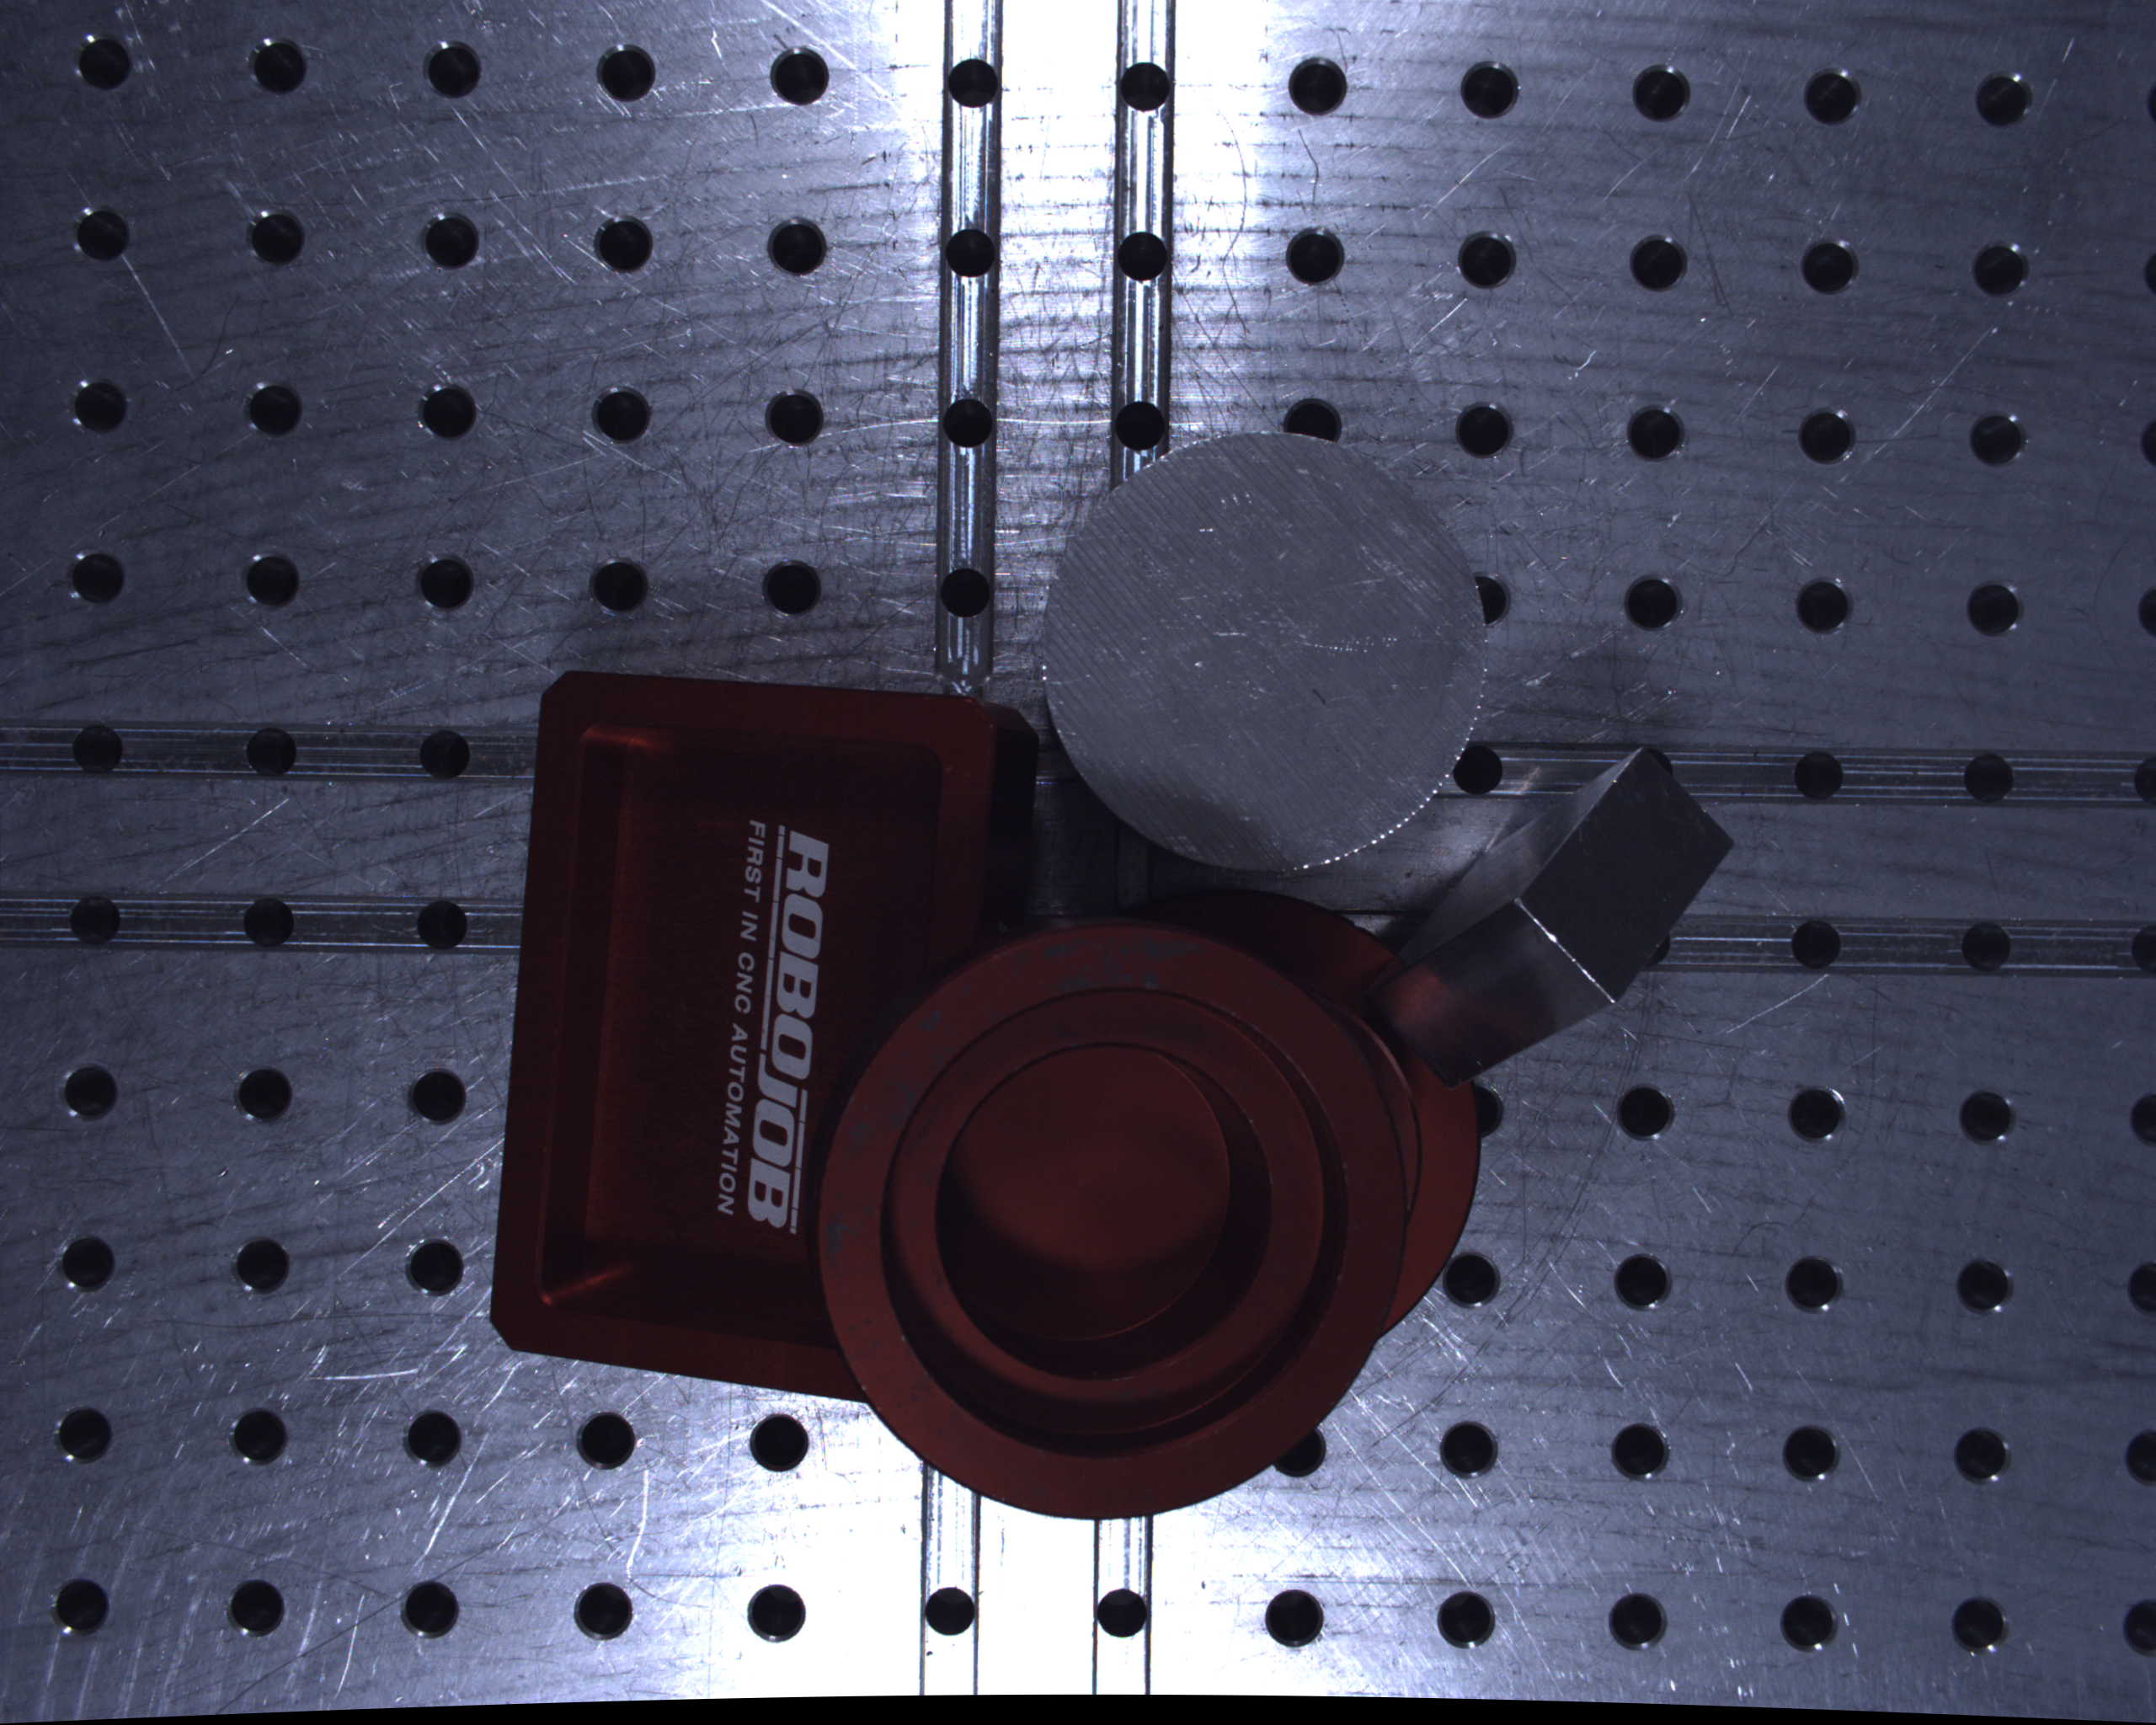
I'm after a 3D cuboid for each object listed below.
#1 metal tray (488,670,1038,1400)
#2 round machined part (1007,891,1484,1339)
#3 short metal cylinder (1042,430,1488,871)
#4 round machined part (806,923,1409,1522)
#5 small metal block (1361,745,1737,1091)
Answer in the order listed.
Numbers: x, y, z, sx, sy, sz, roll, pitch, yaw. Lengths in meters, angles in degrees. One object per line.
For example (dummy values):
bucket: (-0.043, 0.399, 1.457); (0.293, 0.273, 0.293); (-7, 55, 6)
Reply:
metal tray: (-0.060, 0.031, 0.399); (0.090, 0.030, 0.129); (5, 90, 14)
round machined part: (0.030, 0.054, 0.404); (0.099, 0.042, 0.097); (0, 90, -1)
short metal cylinder: (0.034, -0.038, 0.401); (0.081, 0.050, 0.079); (0, 90, -1)
round machined part: (0.003, 0.058, 0.357); (0.099, 0.042, 0.097); (0, 92, -11)
small metal block: (0.088, 0.011, 0.392); (0.025, 0.050, 0.050); (47, 55, 0)
